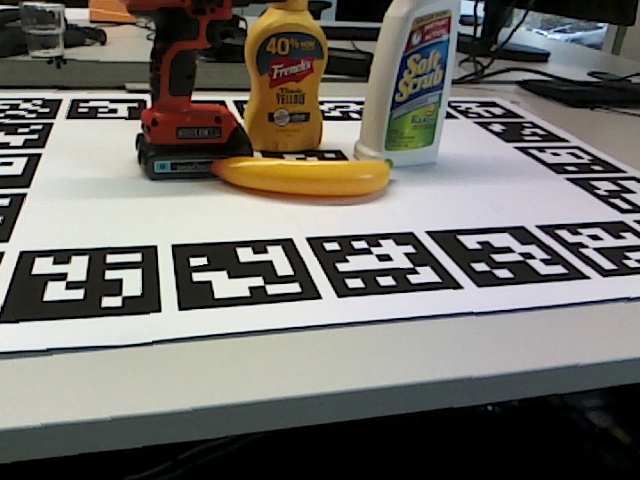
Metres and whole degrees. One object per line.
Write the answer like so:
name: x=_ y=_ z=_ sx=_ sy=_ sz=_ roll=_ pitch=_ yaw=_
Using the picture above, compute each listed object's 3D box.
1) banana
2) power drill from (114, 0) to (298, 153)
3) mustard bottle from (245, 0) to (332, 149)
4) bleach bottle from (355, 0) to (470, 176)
banana: x=-0.003 y=-0.069 z=0.638 sx=0.197 sy=0.039 sz=0.074 roll=-2 pitch=34 yaw=-11
power drill: x=-0.117 y=-0.186 z=0.636 sx=0.184 sy=0.187 sz=0.058 roll=-2 pitch=23 yaw=-18
mustard bottle: x=-0.035 y=-0.204 z=0.721 sx=0.096 sy=0.191 sz=0.059 roll=-1 pitch=29 yaw=-15
bleach bottle: x=0.106 y=-0.198 z=0.694 sx=0.102 sy=0.250 sz=0.068 roll=-7 pitch=33 yaw=-22
